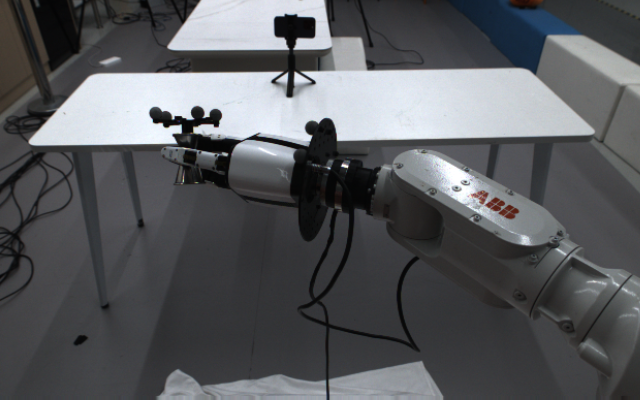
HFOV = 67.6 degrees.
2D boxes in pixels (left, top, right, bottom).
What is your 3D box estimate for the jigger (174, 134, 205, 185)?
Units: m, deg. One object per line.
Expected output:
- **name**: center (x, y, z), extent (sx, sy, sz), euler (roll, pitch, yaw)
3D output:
- **jigger**: center (-0.180, -0.054, 0.661), extent (0.043, 0.071, 0.043), euler (-2, 4, 0)
